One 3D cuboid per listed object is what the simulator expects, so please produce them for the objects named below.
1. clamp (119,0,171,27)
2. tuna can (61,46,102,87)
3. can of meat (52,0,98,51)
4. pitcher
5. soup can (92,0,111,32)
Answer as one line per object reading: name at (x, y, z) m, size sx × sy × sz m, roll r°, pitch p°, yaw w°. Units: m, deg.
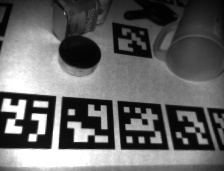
clamp at (0.094, -0.209, 0.624) m, size 0.166 × 0.036 × 0.121 m, roll 8°, pitch 57°, yaw -19°
tuna can at (-0.068, -0.041, 0.469) m, size 0.086 × 0.033 × 0.085 m, roll 8°, pitch 63°, yaw -15°
can of meat at (-0.081, -0.131, 0.469) m, size 0.084 × 0.101 × 0.057 m, roll -34°, pitch 78°, yaw -26°
pitcher at (0.226, -0.131, 0.557) m, size 0.187 × 0.134 × 0.242 m, roll 11°, pitch 50°, yaw 13°
soup can at (-0.041, -0.187, 0.517) m, size 0.068 × 0.102 × 0.067 m, roll 6°, pitch 63°, yaw -12°
